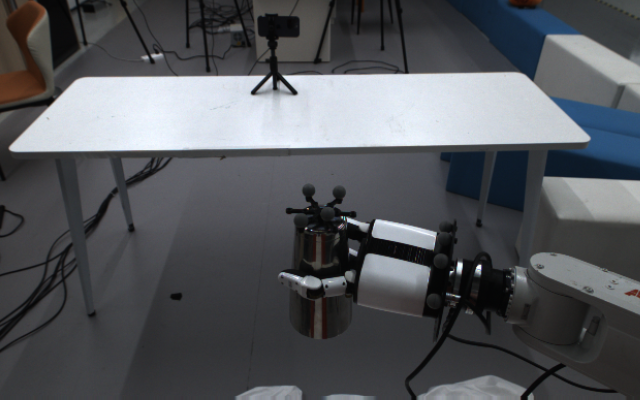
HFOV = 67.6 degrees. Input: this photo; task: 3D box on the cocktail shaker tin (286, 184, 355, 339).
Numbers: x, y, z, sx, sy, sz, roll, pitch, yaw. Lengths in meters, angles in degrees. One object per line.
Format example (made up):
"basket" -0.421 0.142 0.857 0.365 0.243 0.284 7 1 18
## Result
"cocktail shaker tin" 0.004 0.093 0.656 0.093 0.170 0.093 0 33 0
